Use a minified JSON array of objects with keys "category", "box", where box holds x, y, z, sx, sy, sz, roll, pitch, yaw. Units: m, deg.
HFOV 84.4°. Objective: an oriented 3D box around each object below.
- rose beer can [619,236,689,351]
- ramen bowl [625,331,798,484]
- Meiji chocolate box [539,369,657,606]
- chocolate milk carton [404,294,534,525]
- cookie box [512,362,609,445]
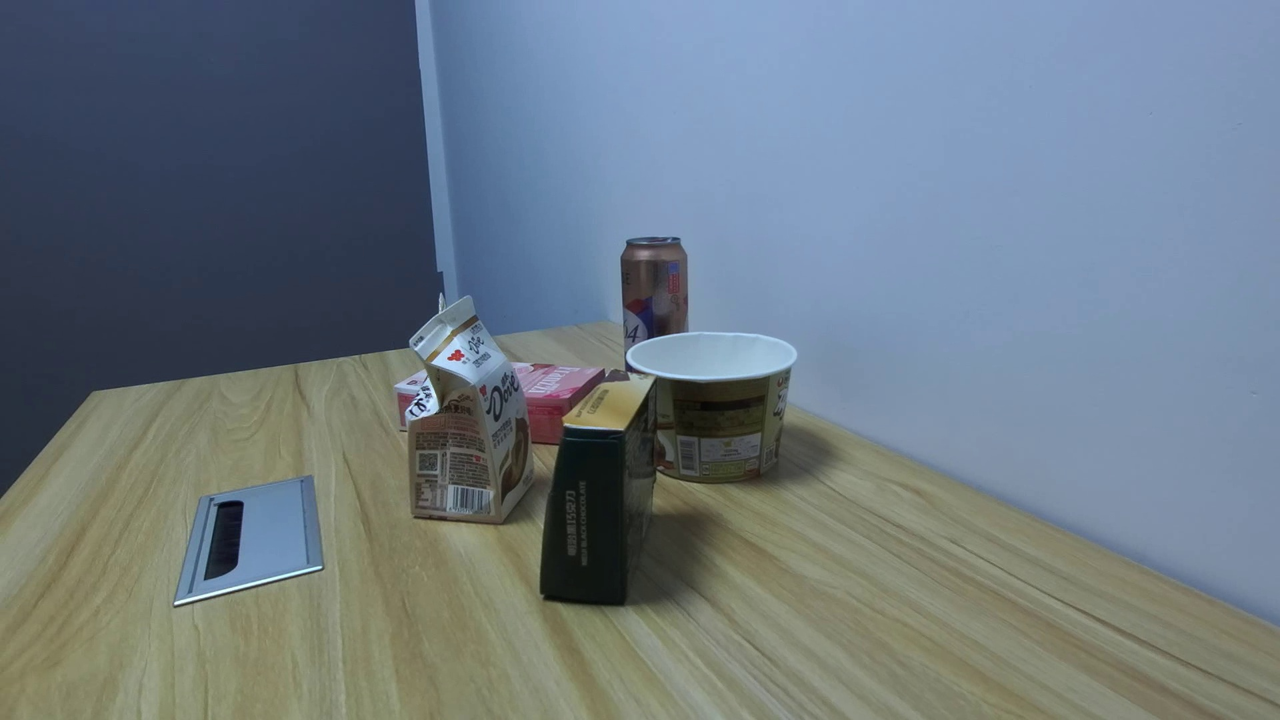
[{"category":"rose beer can","box":[0.017,-0.036,0.714,0.068,0.169,0.068,-2,15,1]},{"category":"ramen bowl","box":[0.060,0.037,0.586,0.140,0.095,0.140,-3,15,1]},{"category":"Meiji chocolate box","box":[-0.021,0.074,0.440,0.051,0.117,0.117,8,19,7]},{"category":"chocolate milk carton","box":[-0.130,0.032,0.521,0.073,0.155,0.076,-1,17,13]},{"category":"cookie box","box":[-0.085,0.040,0.621,0.105,0.049,0.186,-11,7,-41]}]
